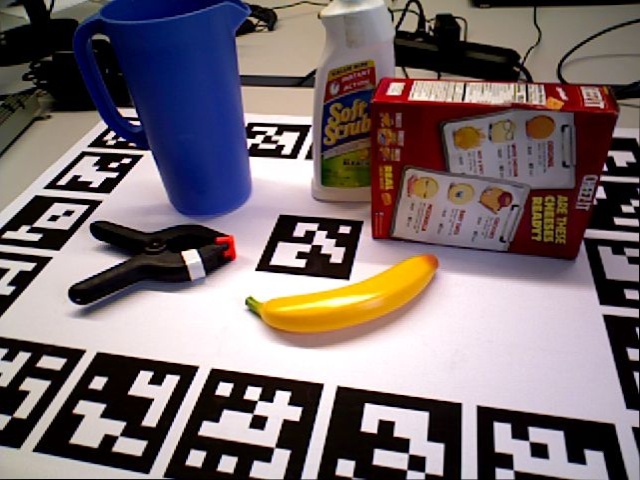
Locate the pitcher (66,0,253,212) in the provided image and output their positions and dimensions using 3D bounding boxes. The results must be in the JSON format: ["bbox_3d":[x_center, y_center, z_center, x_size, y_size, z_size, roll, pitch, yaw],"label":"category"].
[{"bbox_3d":[-0.159,-0.156,0.598,0.187,0.248,0.131,-6,37,-6],"label":"pitcher"}]

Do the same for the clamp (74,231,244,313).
[{"bbox_3d":[-0.164,0.024,0.574,0.164,0.037,0.120,-6,36,-4],"label":"clamp"}]

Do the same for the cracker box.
[{"bbox_3d":[0.173,-0.077,0.536,0.214,0.167,0.070,4,36,13],"label":"cracker box"}]

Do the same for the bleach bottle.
[{"bbox_3d":[0.032,-0.153,0.605,0.103,0.256,0.066,4,38,10],"label":"bleach bottle"}]

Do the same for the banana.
[{"bbox_3d":[0.048,0.058,0.519,0.194,0.039,0.074,-18,39,-16],"label":"banana"}]
